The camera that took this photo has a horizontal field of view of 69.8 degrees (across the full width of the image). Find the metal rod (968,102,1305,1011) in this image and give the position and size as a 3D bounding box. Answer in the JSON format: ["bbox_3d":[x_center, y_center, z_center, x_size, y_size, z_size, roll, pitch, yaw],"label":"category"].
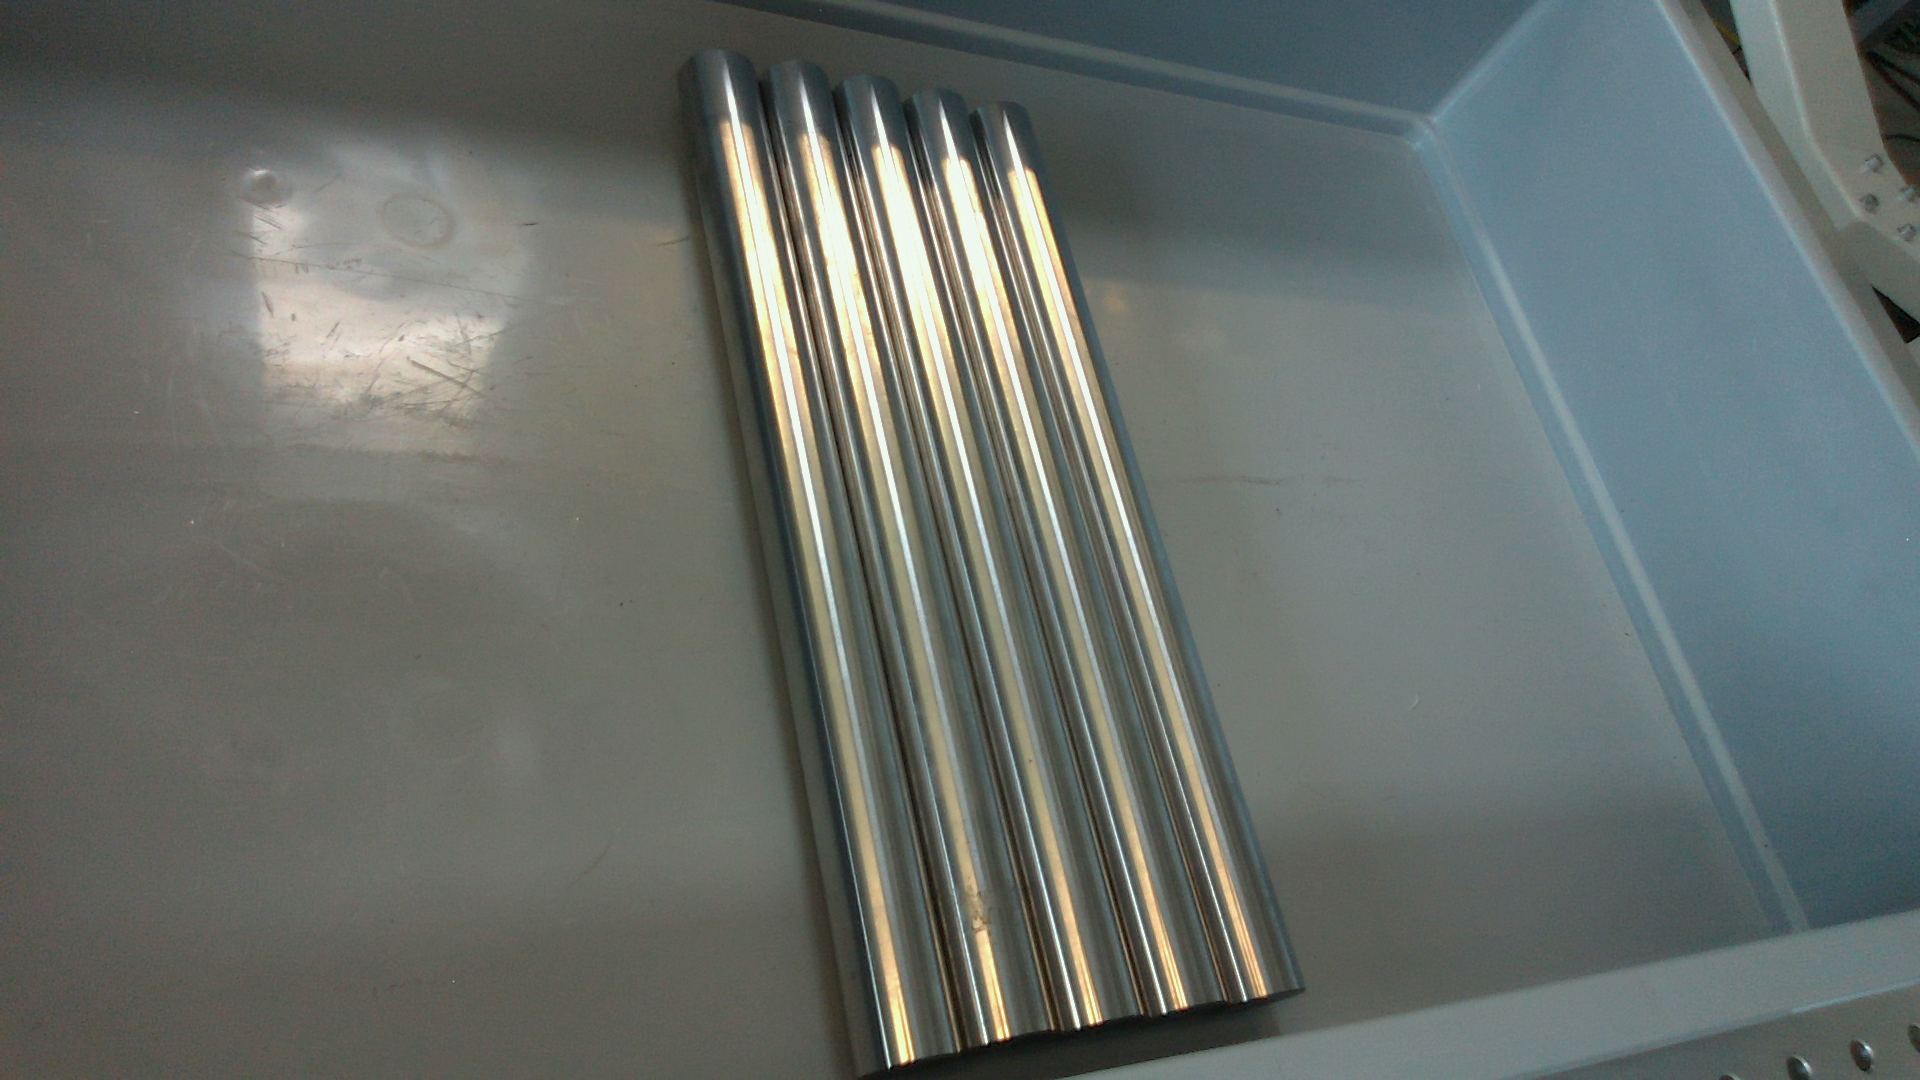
[{"bbox_3d":[0.045,-0.013,0.420,0.025,0.025,0.300,0,62,-28],"label":"metal rod"}]

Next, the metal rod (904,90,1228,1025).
[{"bbox_3d":[0.022,-0.013,0.409,0.025,0.025,0.300,0,62,-28],"label":"metal rod"}]

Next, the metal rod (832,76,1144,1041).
[{"bbox_3d":[0.000,-0.014,0.397,0.025,0.025,0.300,0,62,-28],"label":"metal rod"}]

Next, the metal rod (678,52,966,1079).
[{"bbox_3d":[-0.044,-0.013,0.373,0.025,0.025,0.300,0,62,-28],"label":"metal rod"}]

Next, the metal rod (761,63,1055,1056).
[{"bbox_3d":[-0.023,-0.014,0.385,0.025,0.025,0.300,0,62,-28],"label":"metal rod"}]
